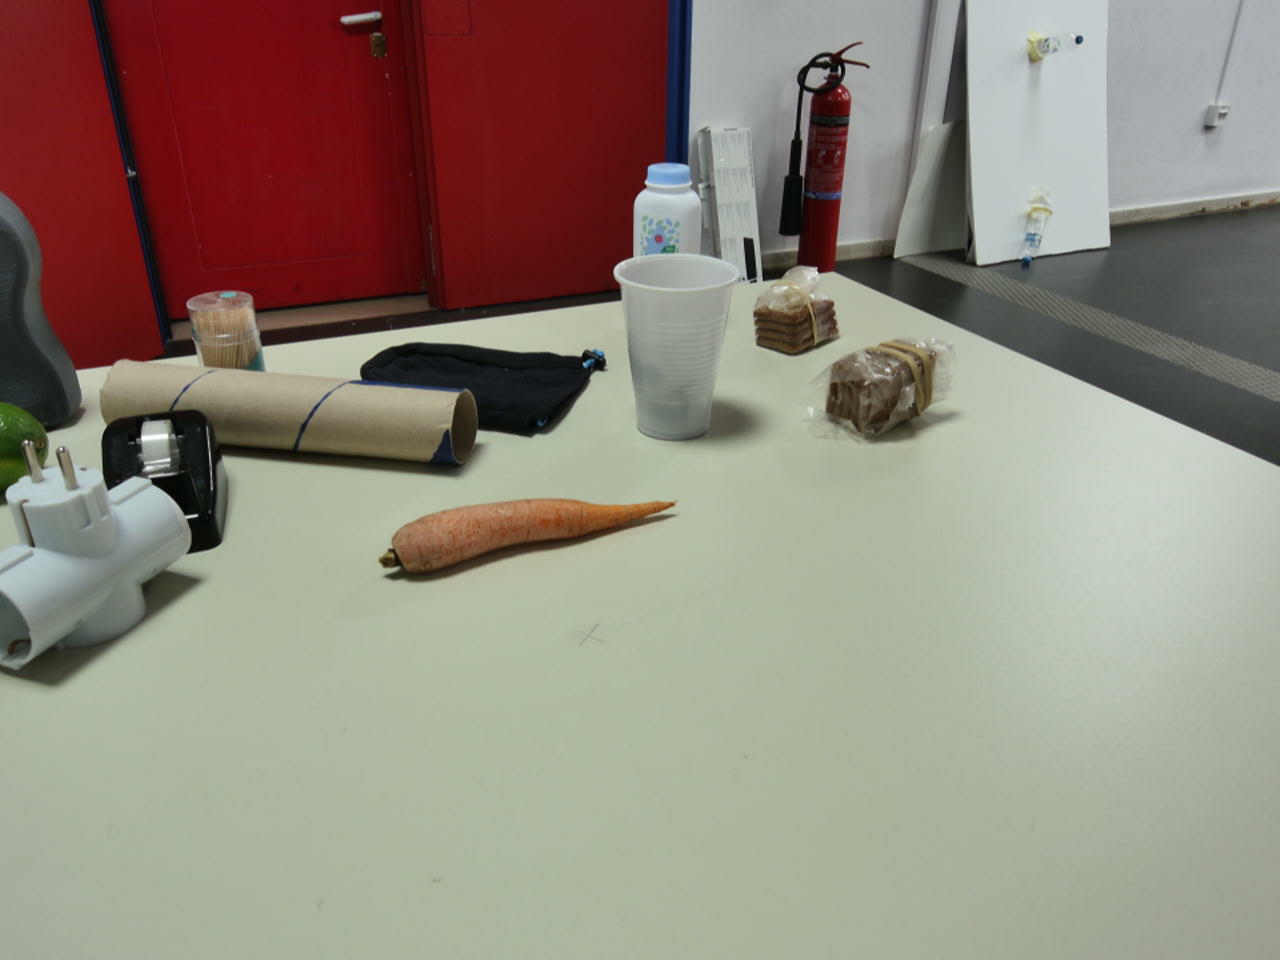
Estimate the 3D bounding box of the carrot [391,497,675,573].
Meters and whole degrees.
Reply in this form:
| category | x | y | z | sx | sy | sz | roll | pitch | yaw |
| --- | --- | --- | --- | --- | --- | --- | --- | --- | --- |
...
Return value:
| category | x | y | z | sx | sy | sz | roll | pitch | yaw |
| --- | --- | --- | --- | --- | --- | --- | --- | --- | --- |
| carrot | -0.056 | 0.022 | 0.539 | 0.163 | 0.029 | 0.031 | -11 | 28 | -22 |
